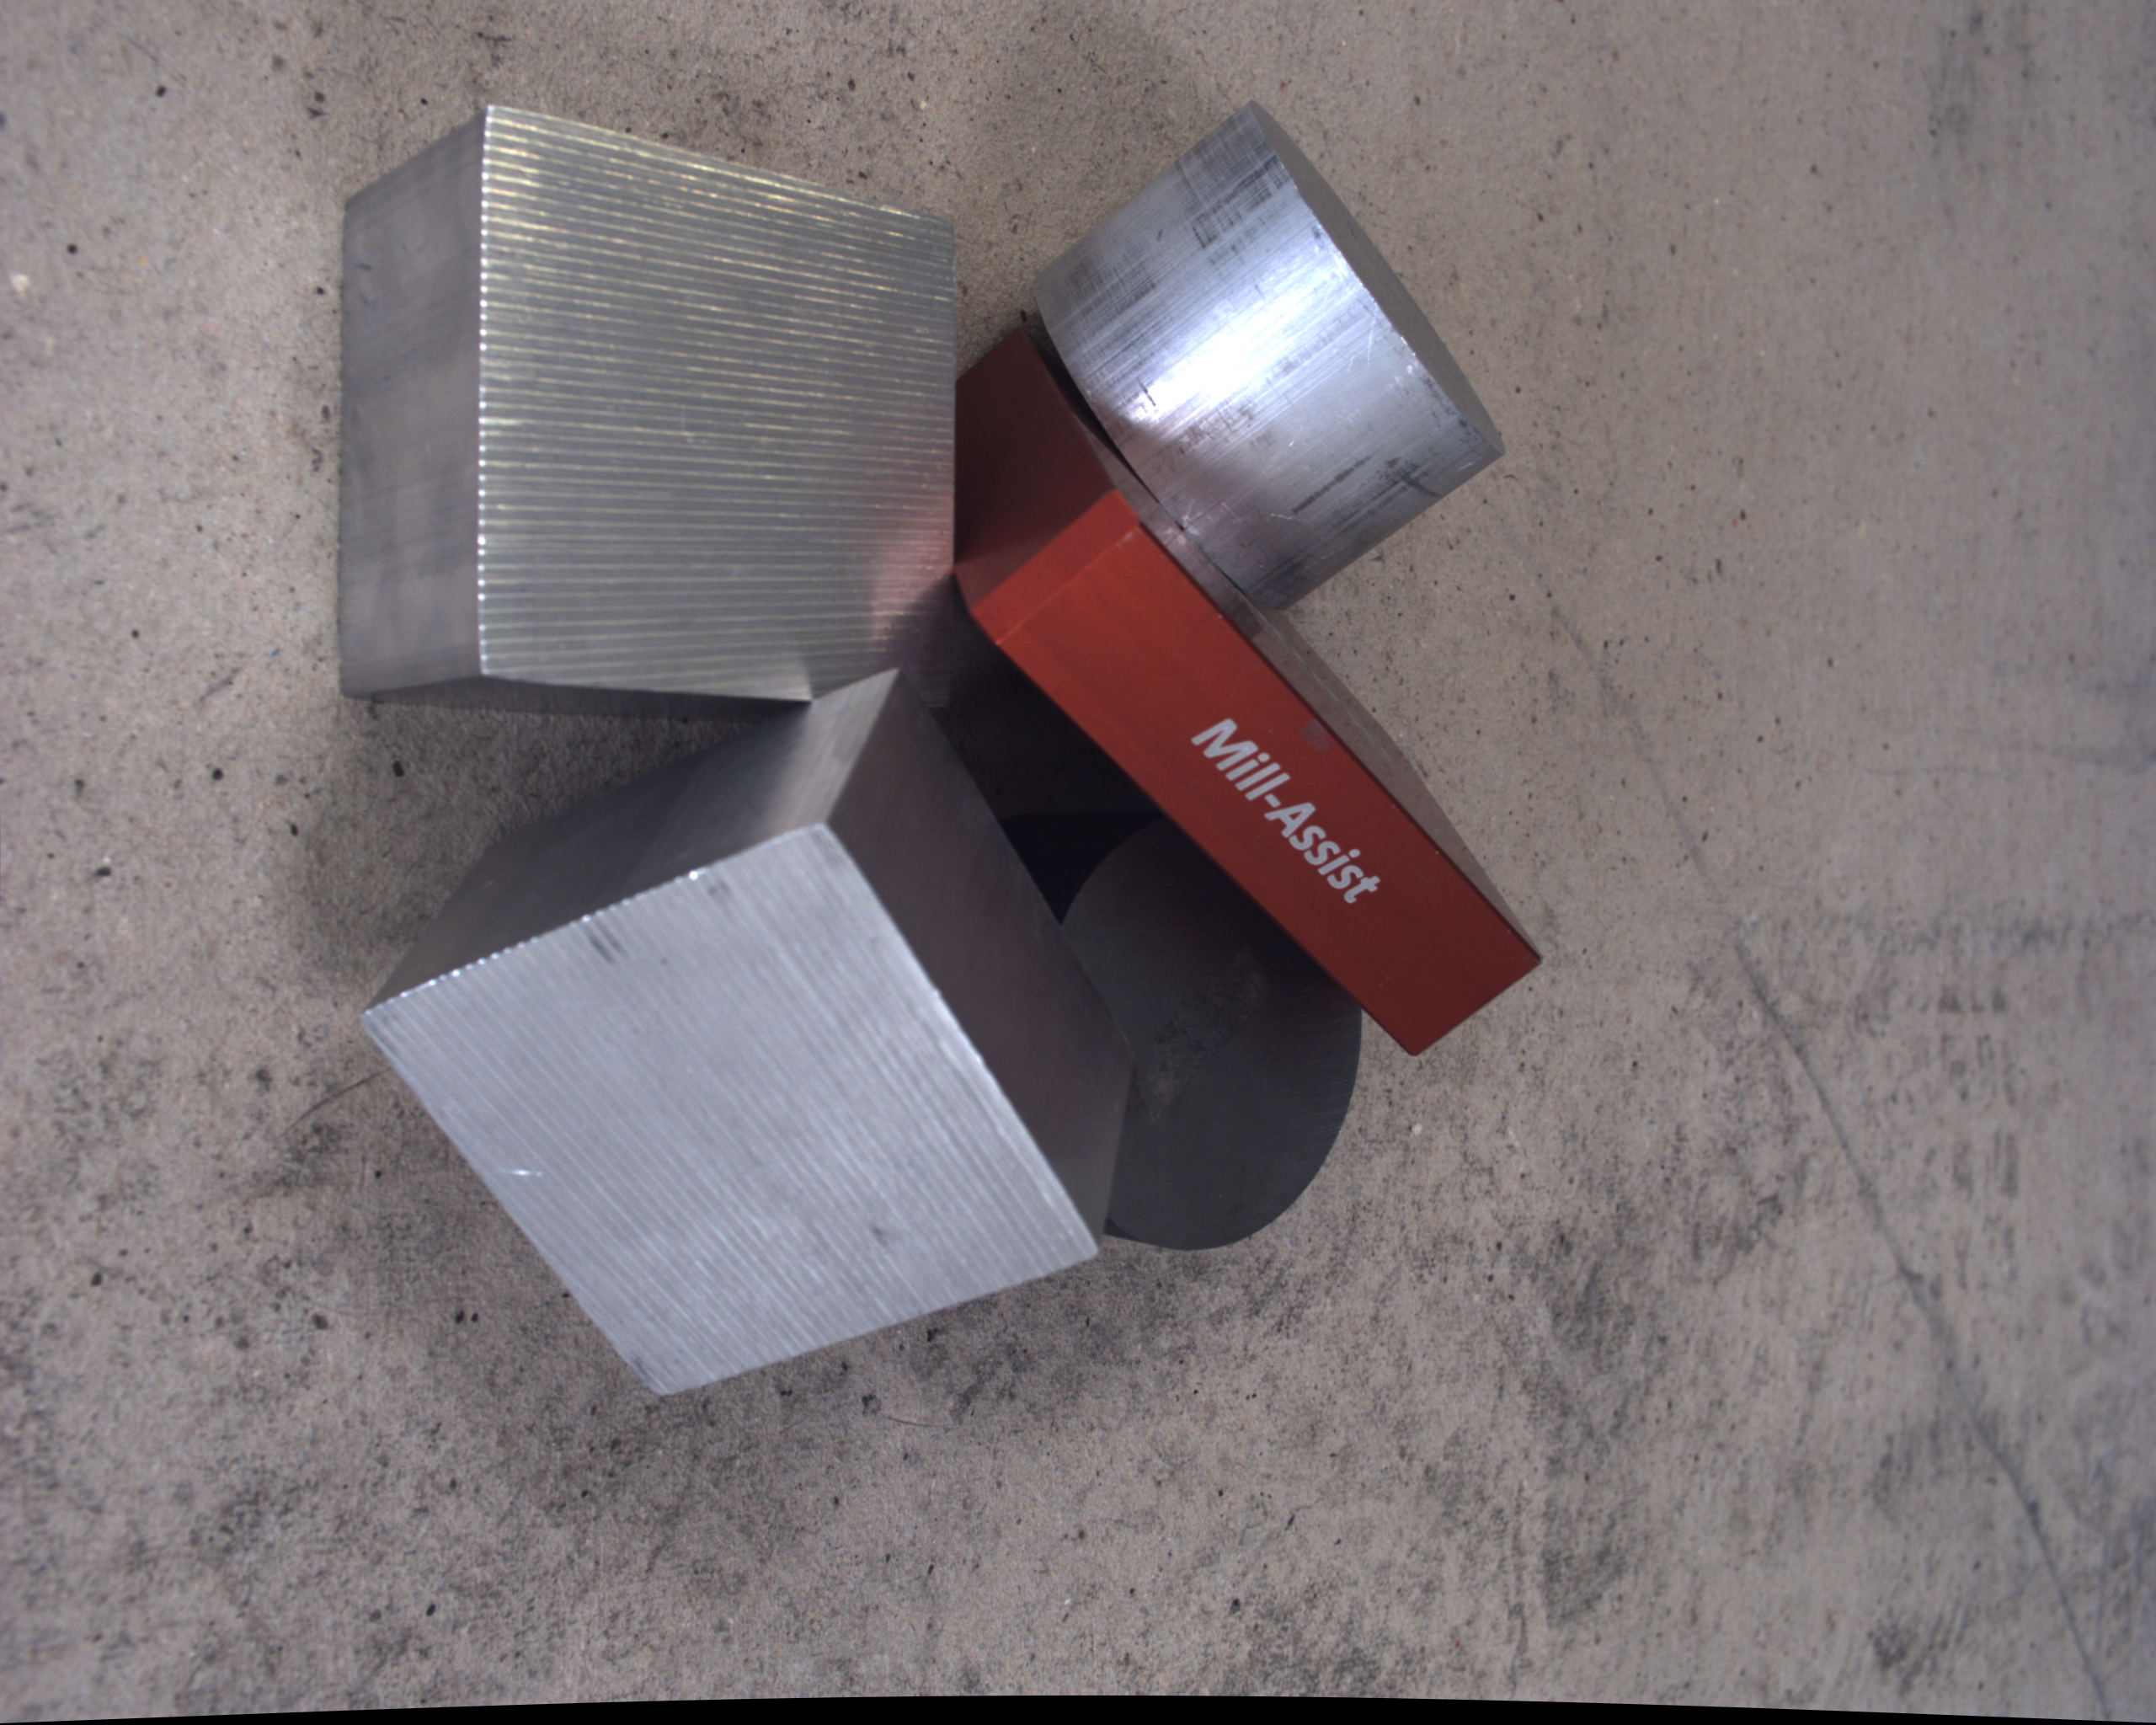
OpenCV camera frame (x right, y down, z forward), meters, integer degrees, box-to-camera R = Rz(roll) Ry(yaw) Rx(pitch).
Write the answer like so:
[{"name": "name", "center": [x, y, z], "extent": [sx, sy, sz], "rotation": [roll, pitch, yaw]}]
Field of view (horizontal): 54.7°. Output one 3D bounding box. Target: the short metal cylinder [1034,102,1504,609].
[{"name": "short metal cylinder", "center": [0.037, -0.095, 0.394], "extent": [0.080, 0.050, 0.080], "rotation": [46, 22, -24]}]

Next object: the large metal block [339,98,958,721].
[{"name": "large metal block", "center": [-0.067, -0.065, 0.331], "extent": [0.081, 0.050, 0.080], "rotation": [1, 90, -40]}]

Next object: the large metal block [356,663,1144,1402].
[{"name": "large metal block", "center": [-0.046, 0.027, 0.323], "extent": [0.080, 0.080, 0.050], "rotation": [60, 21, -23]}]

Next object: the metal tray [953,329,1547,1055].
[{"name": "metal tray", "center": [0.027, -0.031, 0.388], "extent": [0.030, 0.090, 0.130], "rotation": [-40, 122, 12]}]

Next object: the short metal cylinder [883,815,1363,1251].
[{"name": "short metal cylinder", "center": [0.008, 0.030, 0.398], "extent": [0.081, 0.050, 0.080], "rotation": [0, 90, -40]}]
